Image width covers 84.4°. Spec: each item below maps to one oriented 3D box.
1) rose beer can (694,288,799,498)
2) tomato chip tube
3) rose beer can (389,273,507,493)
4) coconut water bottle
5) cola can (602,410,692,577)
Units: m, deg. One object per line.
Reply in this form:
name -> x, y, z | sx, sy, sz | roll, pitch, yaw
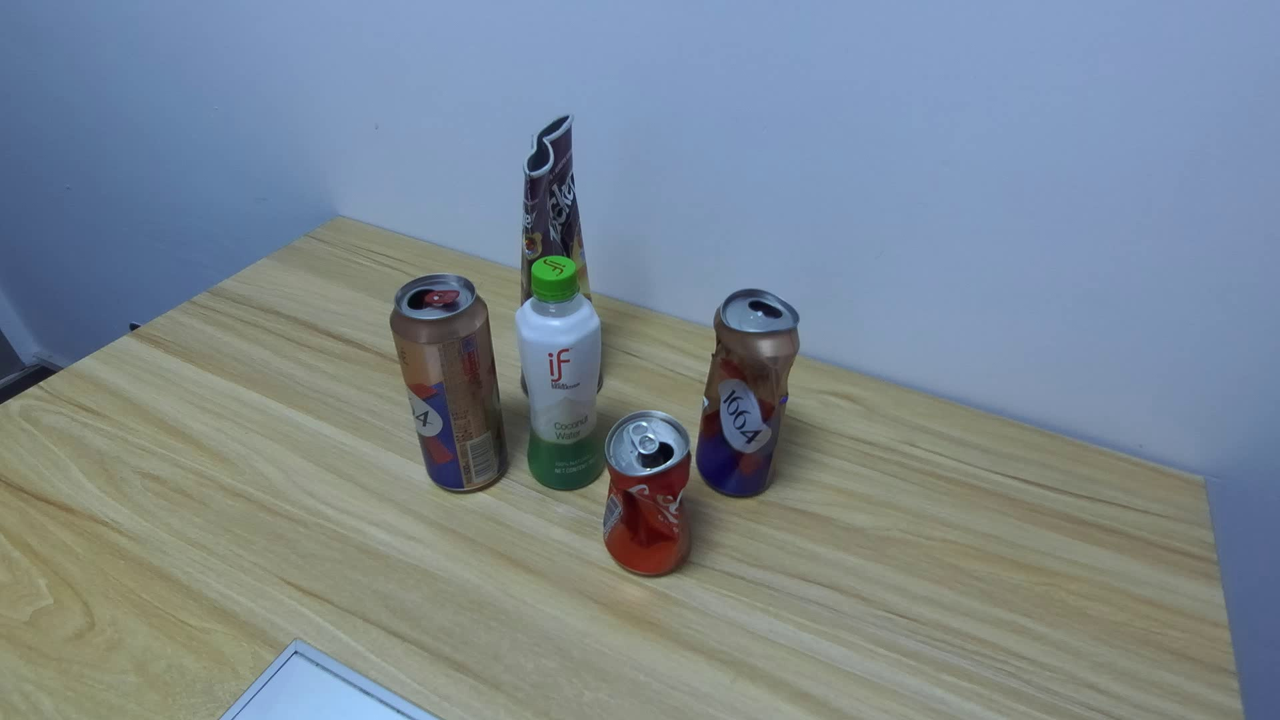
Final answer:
rose beer can -> 0.079, 0.029, 0.532 | 0.073, 0.162, 0.068 | 22, 42, 22
tomato chip tube -> -0.070, -0.070, 0.591 | 0.090, 0.236, 0.077 | -26, 47, -32
rose beer can -> -0.140, 0.022, 0.534 | 0.068, 0.169, 0.068 | 0, 38, 0
coconut water bottle -> -0.059, 0.012, 0.527 | 0.063, 0.189, 0.063 | 1, 39, 0
cola can -> 0.006, 0.093, 0.493 | 0.065, 0.112, 0.069 | 9, 43, 10
